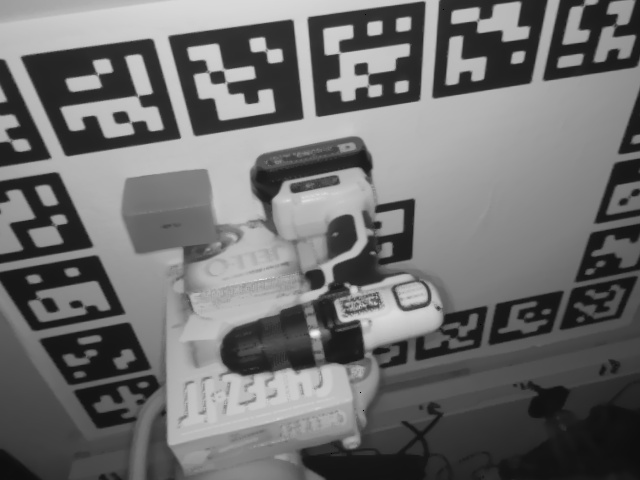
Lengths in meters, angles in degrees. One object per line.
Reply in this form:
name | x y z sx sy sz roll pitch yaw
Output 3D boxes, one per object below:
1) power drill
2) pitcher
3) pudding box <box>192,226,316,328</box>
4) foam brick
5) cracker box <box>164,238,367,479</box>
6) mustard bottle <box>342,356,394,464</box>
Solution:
power drill | 0.003 0.023 0.604 0.185 0.188 0.057 -10 135 -5
pitcher | -0.099 0.193 0.738 0.190 0.243 0.132 -6 132 -11
pudding box | -0.066 0.034 0.688 0.114 0.090 0.038 -11 134 -9
foam brick | -0.133 -0.025 0.664 0.078 0.051 0.052 -8 130 -7
cracker box | -0.061 0.106 0.680 0.165 0.214 0.071 -12 134 -6
mustard bottle | 0.030 0.163 0.762 0.097 0.192 0.058 1 129 -14
